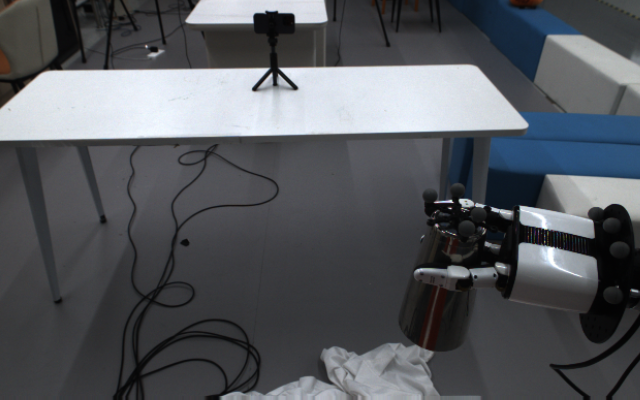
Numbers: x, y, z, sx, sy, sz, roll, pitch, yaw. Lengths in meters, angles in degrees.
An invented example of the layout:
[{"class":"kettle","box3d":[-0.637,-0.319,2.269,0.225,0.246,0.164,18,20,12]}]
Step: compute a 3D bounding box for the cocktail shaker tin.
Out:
[{"class":"cocktail shaker tin","box3d":[0.159,0.093,0.609,0.093,0.170,0.093,3,33,-2]}]
